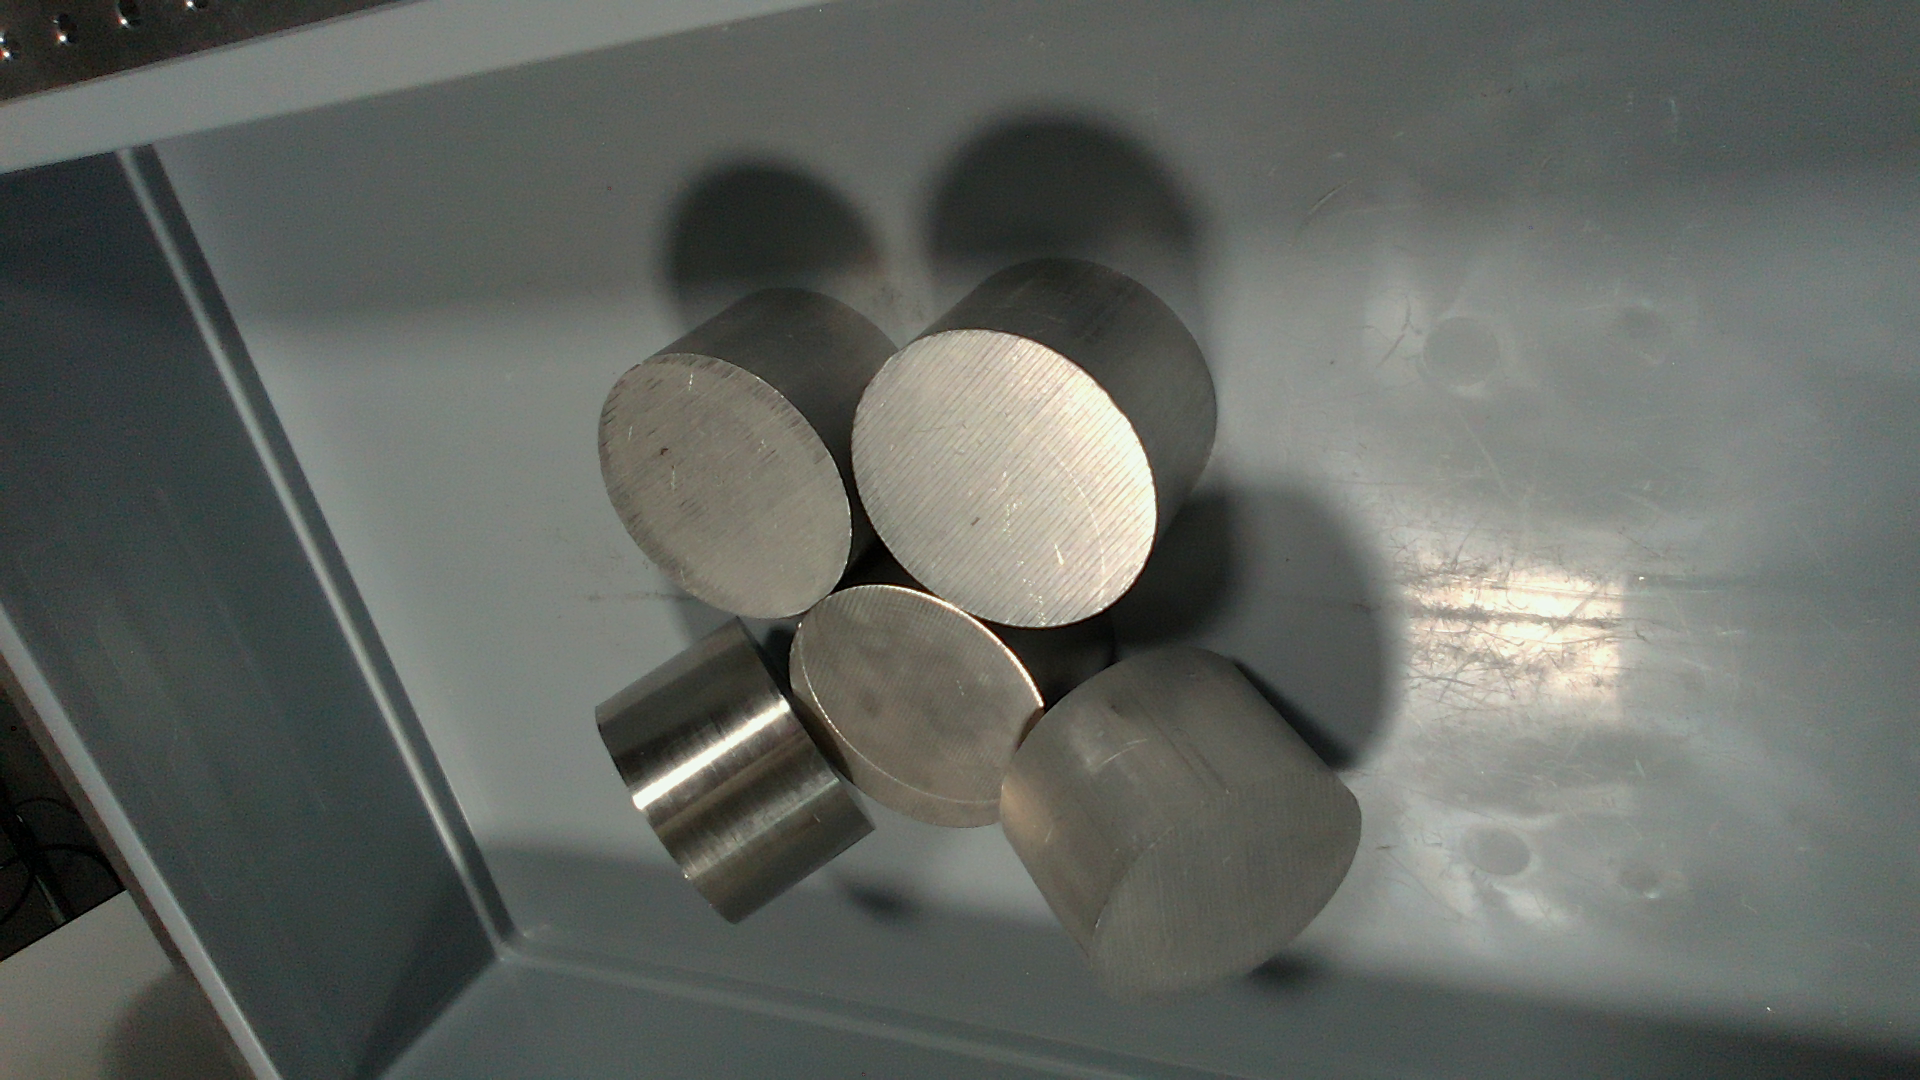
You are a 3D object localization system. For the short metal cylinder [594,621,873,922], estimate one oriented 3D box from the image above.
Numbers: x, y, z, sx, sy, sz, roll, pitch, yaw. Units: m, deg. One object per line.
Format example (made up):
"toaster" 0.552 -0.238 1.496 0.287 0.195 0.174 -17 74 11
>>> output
"short metal cylinder" -0.070 0.070 0.430 0.050 0.080 0.080 -33 104 -7

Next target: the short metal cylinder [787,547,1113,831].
"short metal cylinder" -0.002 0.036 0.397 0.080 0.050 0.080 13 124 21

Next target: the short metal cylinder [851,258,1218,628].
"short metal cylinder" 0.020 -0.025 0.350 0.080 0.050 0.080 13 124 21

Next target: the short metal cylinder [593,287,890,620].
"short metal cylinder" -0.055 -0.025 0.388 0.080 0.050 0.080 13 124 21

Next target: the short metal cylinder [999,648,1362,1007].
"short metal cylinder" 0.057 0.076 0.364 0.050 0.080 0.080 51 144 46
